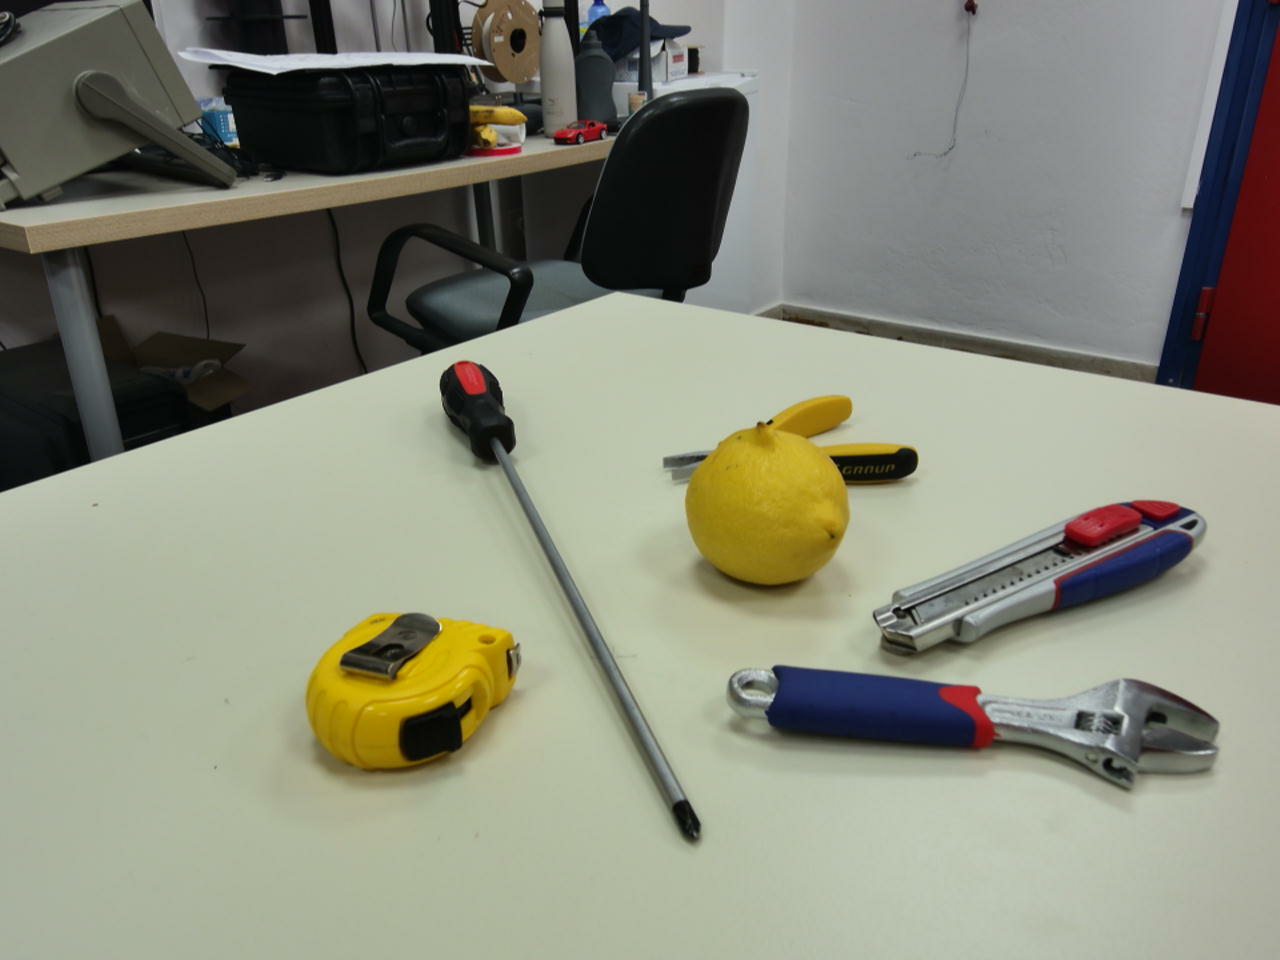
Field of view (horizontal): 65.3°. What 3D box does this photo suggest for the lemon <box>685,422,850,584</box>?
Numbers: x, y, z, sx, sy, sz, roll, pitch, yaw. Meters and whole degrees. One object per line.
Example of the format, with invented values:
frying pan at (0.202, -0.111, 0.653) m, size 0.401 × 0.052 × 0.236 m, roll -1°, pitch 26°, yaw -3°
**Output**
lemon at (0.055, 0.008, 0.435) m, size 0.070 × 0.071 × 0.071 m, roll 2°, pitch 23°, yaw 4°
